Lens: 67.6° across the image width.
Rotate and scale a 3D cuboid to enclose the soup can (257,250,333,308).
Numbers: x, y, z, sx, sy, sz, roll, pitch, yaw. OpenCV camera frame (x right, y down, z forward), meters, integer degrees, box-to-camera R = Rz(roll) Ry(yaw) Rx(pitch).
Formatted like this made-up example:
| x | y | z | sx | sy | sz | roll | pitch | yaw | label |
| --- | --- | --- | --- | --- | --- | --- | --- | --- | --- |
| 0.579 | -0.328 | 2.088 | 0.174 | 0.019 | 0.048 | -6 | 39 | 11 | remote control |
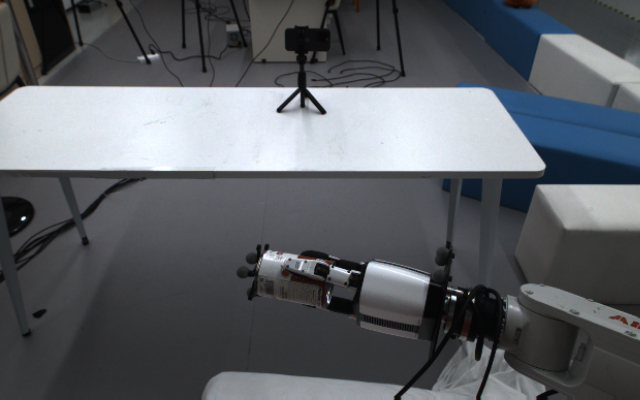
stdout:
| x | y | z | sx | sy | sz | roll | pitch | yaw | label |
| --- | --- | --- | --- | --- | --- | --- | --- | --- | --- |
| -0.031 | 0.111 | 0.682 | 0.101 | 0.067 | 0.067 | 8 | 35 | 10 | soup can |
